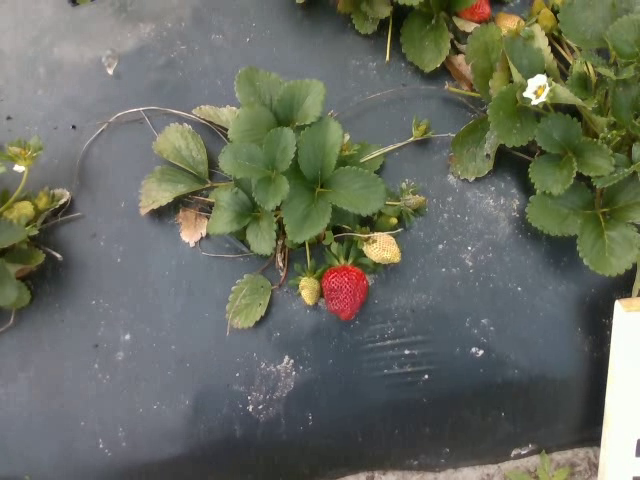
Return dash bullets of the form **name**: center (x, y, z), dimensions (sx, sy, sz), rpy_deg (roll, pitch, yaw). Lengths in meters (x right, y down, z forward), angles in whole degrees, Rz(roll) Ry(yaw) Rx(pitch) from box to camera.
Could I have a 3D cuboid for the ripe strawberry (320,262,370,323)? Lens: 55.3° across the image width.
- **ripe strawberry**: center (0.023, 0.051, 0.535), dimensions (0.046, 0.059, 0.046), rpy_deg (-10, -43, 11)
